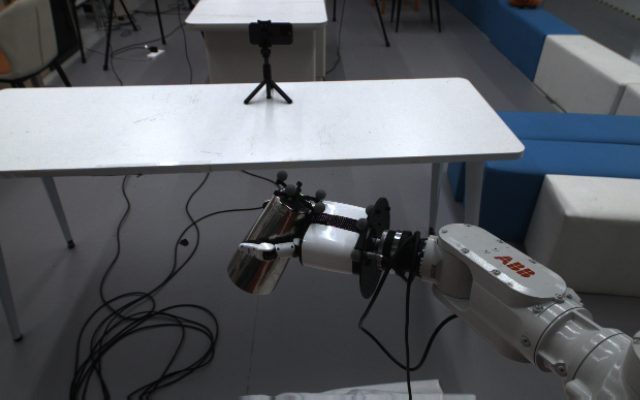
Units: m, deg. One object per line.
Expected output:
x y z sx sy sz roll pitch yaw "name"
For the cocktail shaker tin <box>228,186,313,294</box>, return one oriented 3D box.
-0.078 0.062 0.802 0.093 0.170 0.093 25 29 -15 "cocktail shaker tin"
